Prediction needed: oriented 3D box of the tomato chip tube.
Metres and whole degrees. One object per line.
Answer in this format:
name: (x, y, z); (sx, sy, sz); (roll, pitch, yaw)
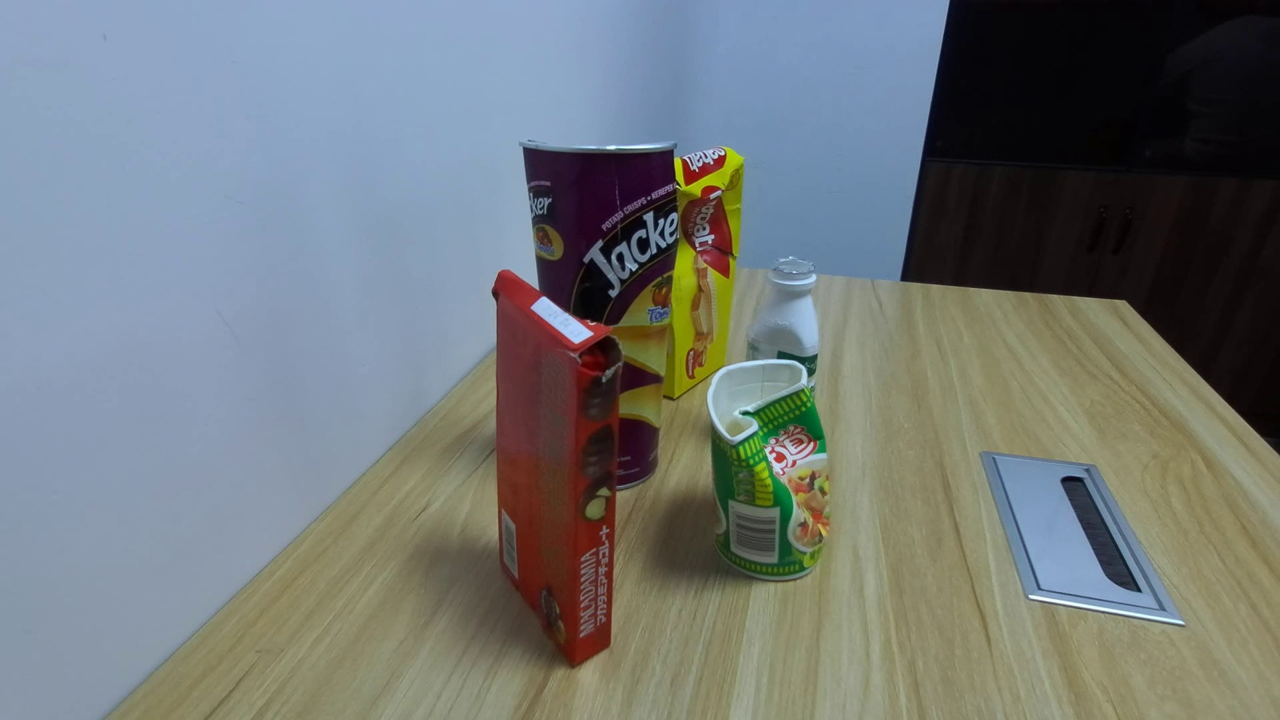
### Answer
tomato chip tube: (-0.024, -0.029, 0.486); (0.076, 0.235, 0.077); (-22, 32, -38)

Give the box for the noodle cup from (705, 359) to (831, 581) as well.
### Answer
noodle cup: (0.080, 0.067, 0.427); (0.083, 0.122, 0.075); (-20, 25, -17)

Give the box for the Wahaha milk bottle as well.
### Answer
Wahaha milk bottle: (0.105, -0.002, 0.522); (0.055, 0.149, 0.055); (0, 31, 0)

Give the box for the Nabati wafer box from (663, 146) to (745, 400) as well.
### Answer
Nabati wafer box: (0.042, -0.073, 0.609); (0.042, 0.204, 0.107); (19, 31, 32)

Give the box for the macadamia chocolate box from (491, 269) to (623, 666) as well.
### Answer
macadamia chocolate box: (-0.047, 0.056, 0.372); (0.027, 0.187, 0.102); (-12, 28, -32)
